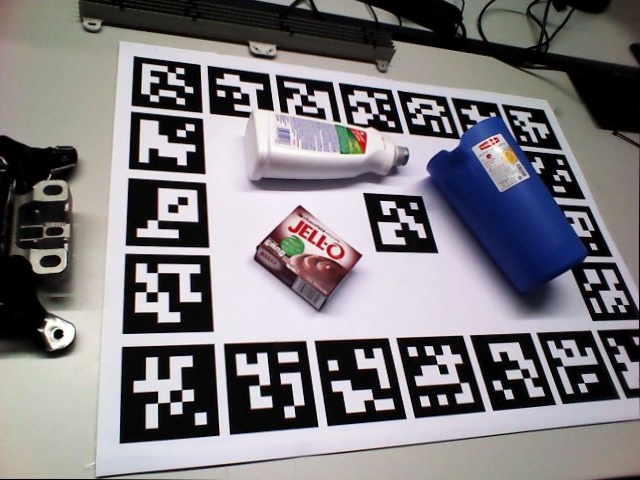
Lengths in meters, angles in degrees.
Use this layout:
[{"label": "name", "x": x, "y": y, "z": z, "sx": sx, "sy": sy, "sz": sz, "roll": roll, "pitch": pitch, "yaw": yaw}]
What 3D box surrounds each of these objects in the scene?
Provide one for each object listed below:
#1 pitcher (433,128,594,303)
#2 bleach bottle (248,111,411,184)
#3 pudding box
[{"label": "pitcher", "x": 0.291, "y": -0.034, "z": 0.773, "sx": 0.188, "sy": 0.134, "sz": 0.242, "roll": -4, "pitch": 62, "yaw": -61}, {"label": "bleach bottle", "x": 0.026, "y": -0.129, "z": 0.757, "sx": 0.250, "sy": 0.068, "sz": 0.102, "roll": 0, "pitch": 65, "yaw": -21}, {"label": "pudding box", "x": -0.012, "y": 0.024, "z": 0.663, "sx": 0.114, "sy": 0.039, "sz": 0.089, "roll": 42, "pitch": 51, "yaw": 6}]
